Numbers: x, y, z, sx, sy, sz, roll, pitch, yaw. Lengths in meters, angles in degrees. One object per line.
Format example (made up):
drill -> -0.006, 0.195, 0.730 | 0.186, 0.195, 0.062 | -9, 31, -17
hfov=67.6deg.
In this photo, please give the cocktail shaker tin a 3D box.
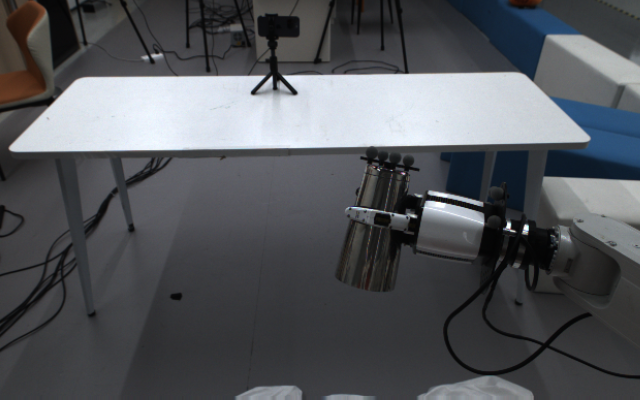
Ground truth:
cocktail shaker tin -> 0.084, 0.038, 0.712 | 0.093, 0.170, 0.093 | 11, 7, -1
